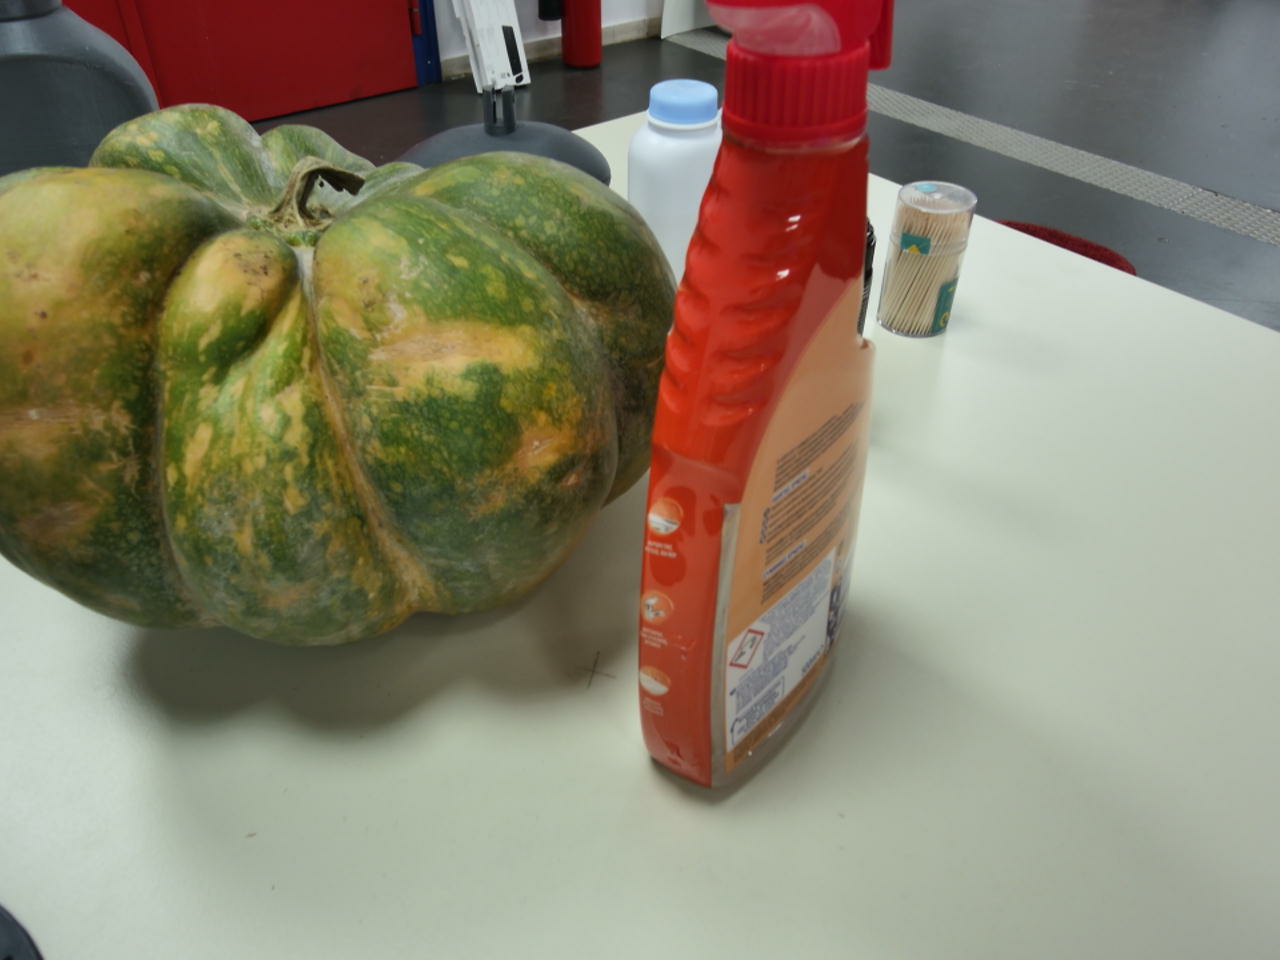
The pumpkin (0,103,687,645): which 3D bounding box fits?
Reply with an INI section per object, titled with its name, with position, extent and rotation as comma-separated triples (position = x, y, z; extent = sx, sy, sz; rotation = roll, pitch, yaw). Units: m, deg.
[pumpkin]
position = -0.120, -0.049, 0.375
extent = 0.270, 0.173, 0.237
rotation = -2, 37, -2
